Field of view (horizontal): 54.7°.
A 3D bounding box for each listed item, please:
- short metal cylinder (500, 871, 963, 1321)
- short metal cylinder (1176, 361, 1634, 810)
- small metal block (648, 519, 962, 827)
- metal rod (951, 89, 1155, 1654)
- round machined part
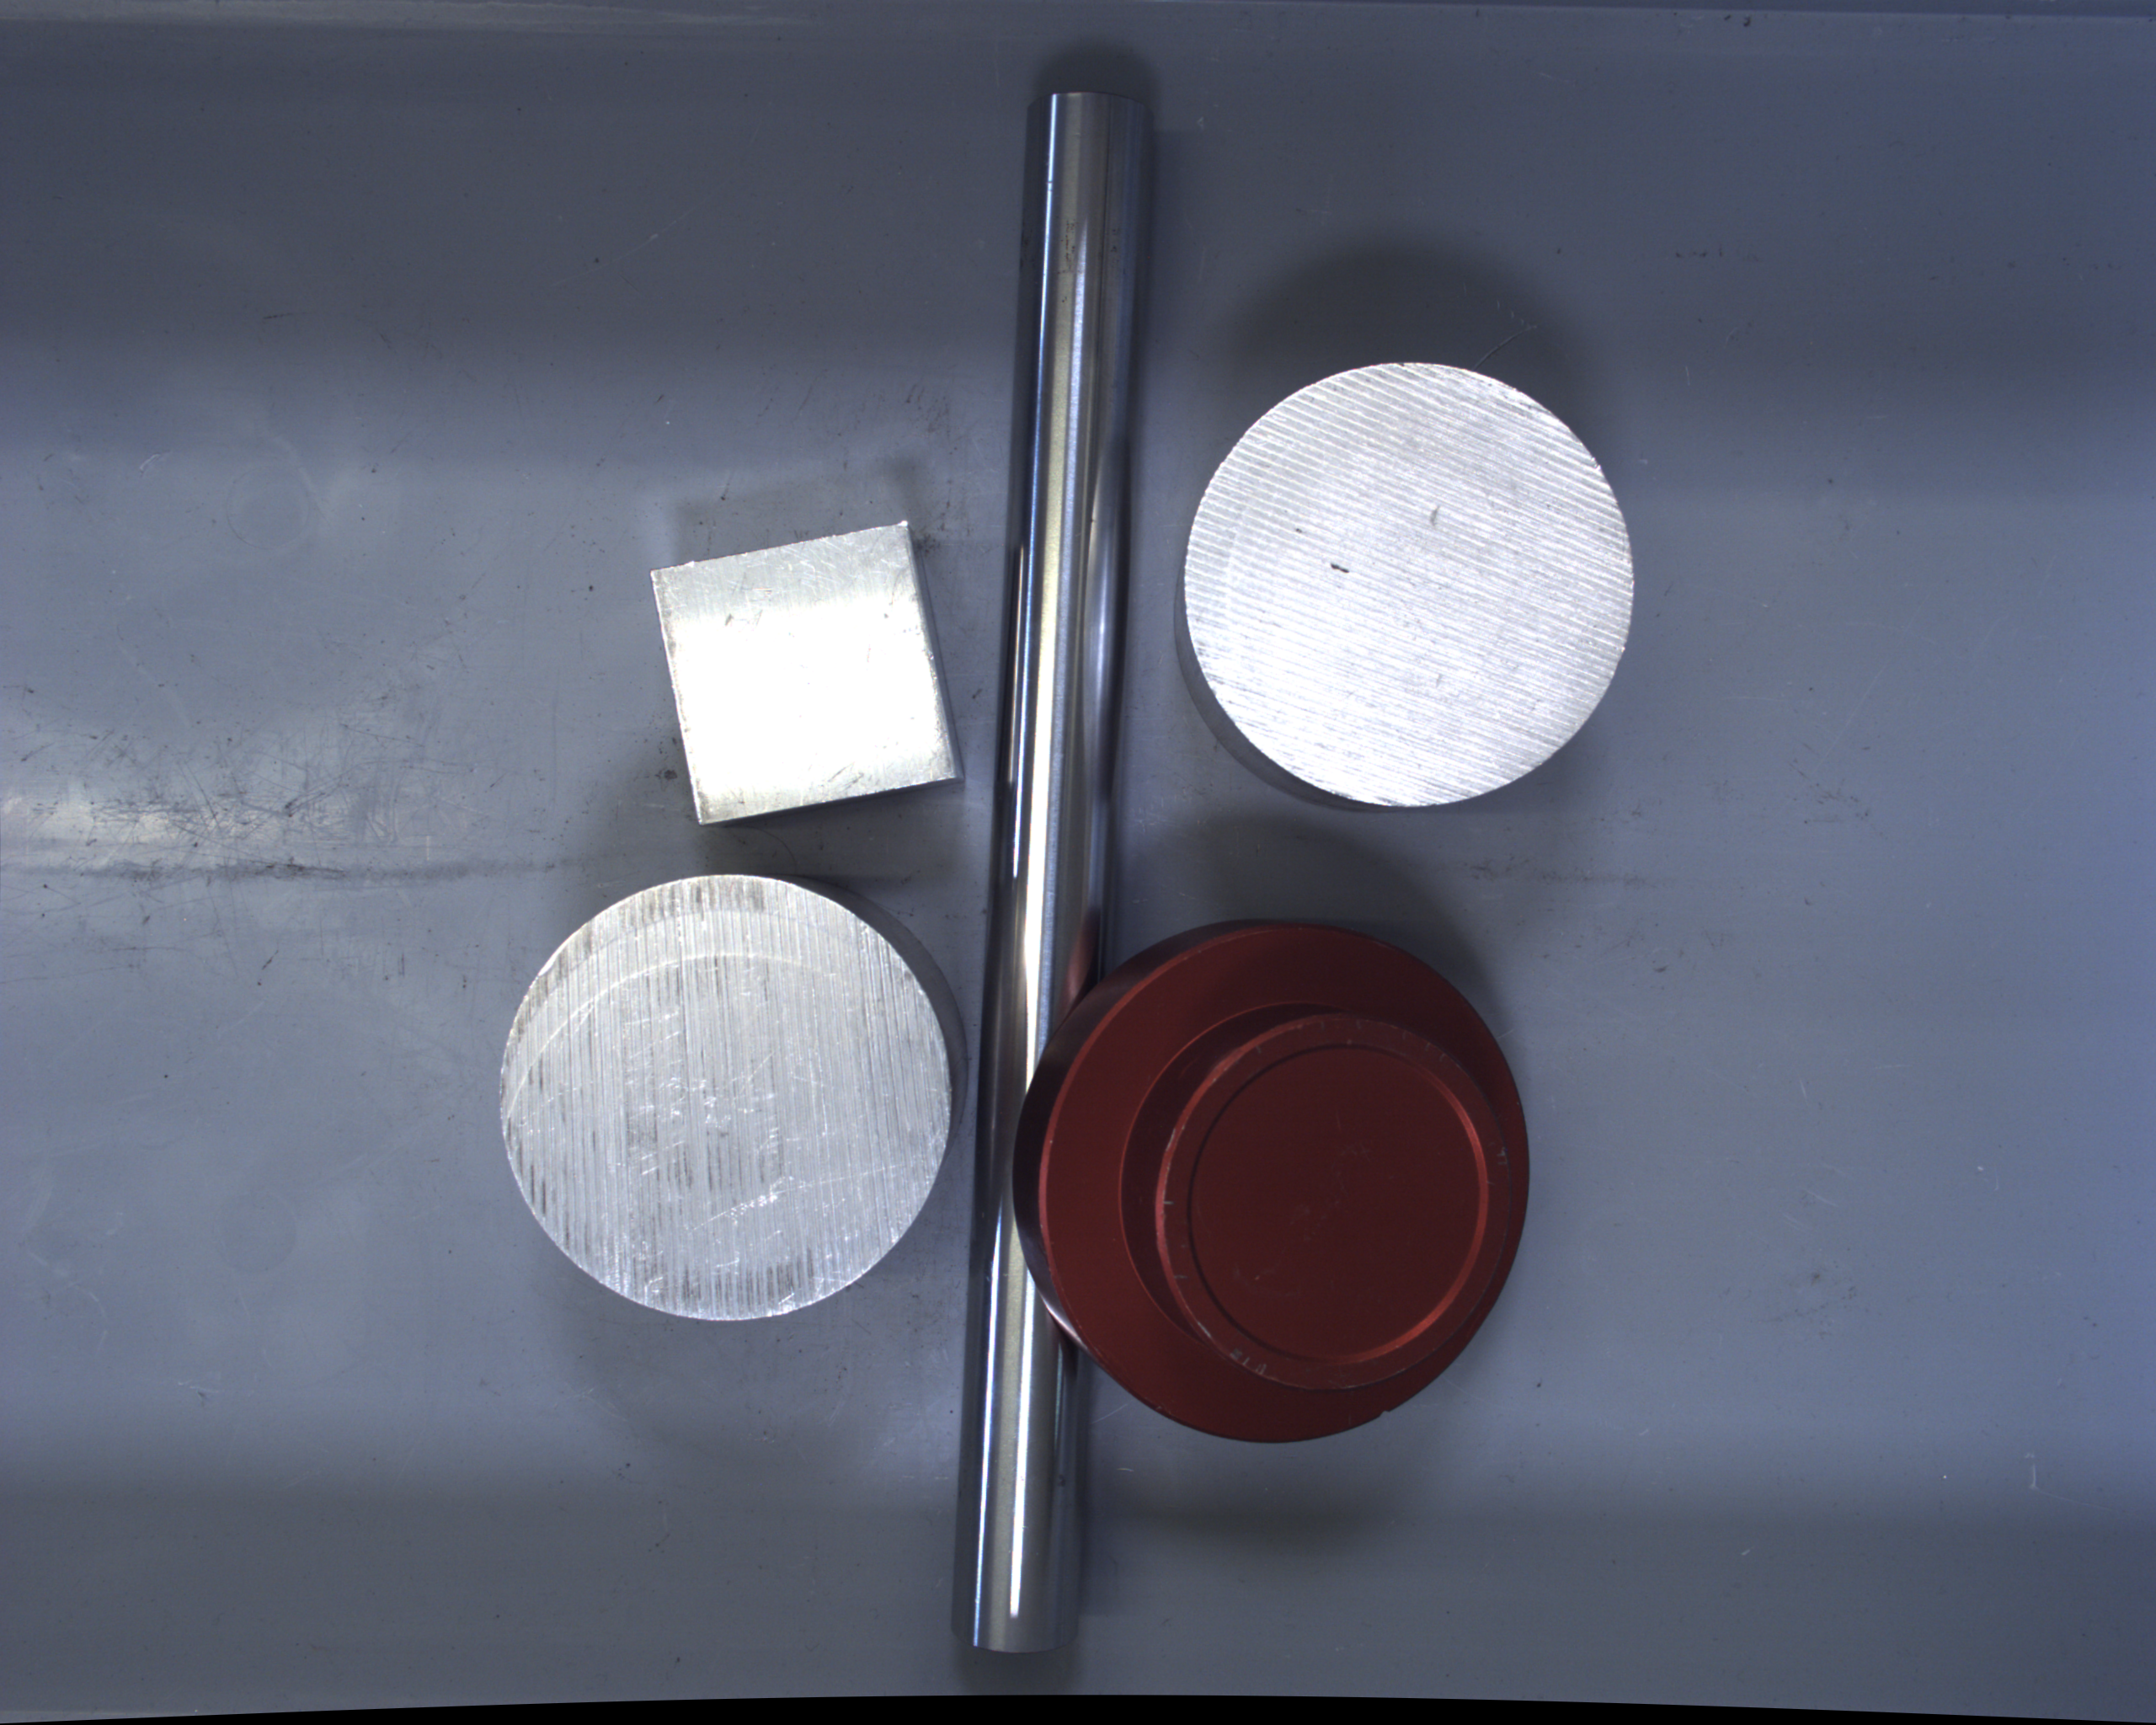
[{"bbox_3d":[-0.062,0.042,0.396,0.081,0.050,0.079,0,90,0],"label":"short metal cylinder"},{"bbox_3d":[0.059,-0.050,0.397,0.081,0.050,0.079,0,90,0],"label":"short metal cylinder"},{"bbox_3d":[-0.052,-0.036,0.409,0.050,0.025,0.050,-11,90,0],"label":"small metal block"},{"bbox_3d":[-0.005,0.002,0.409,0.025,0.025,0.298,3,90,0],"label":"metal rod"},{"bbox_3d":[0.041,0.060,0.389,0.099,0.042,0.097,0,90,-16],"label":"round machined part"}]
